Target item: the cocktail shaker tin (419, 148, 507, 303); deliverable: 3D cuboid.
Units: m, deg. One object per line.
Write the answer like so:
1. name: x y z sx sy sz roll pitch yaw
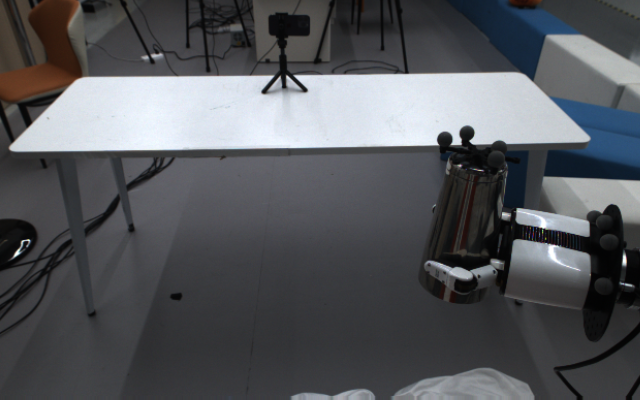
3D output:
1. cocktail shaker tin: 0.179 0.030 0.592 0.093 0.170 0.093 1 28 -1
